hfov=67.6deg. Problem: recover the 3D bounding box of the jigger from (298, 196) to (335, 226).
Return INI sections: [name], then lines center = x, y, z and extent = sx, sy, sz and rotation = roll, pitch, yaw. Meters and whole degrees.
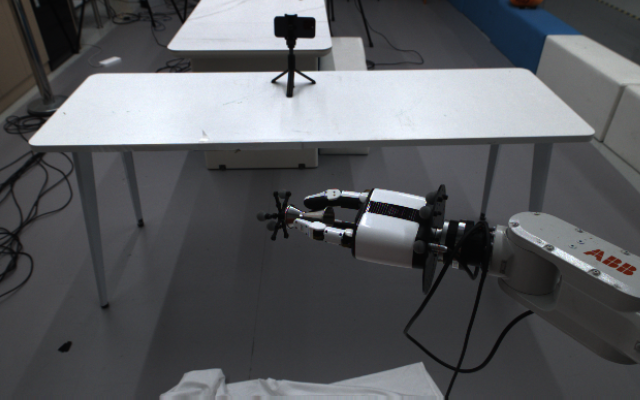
[jigger]
center = -0.009, 0.022, 0.761
extent = 0.071, 0.043, 0.043
rotation = 3, 32, 25
